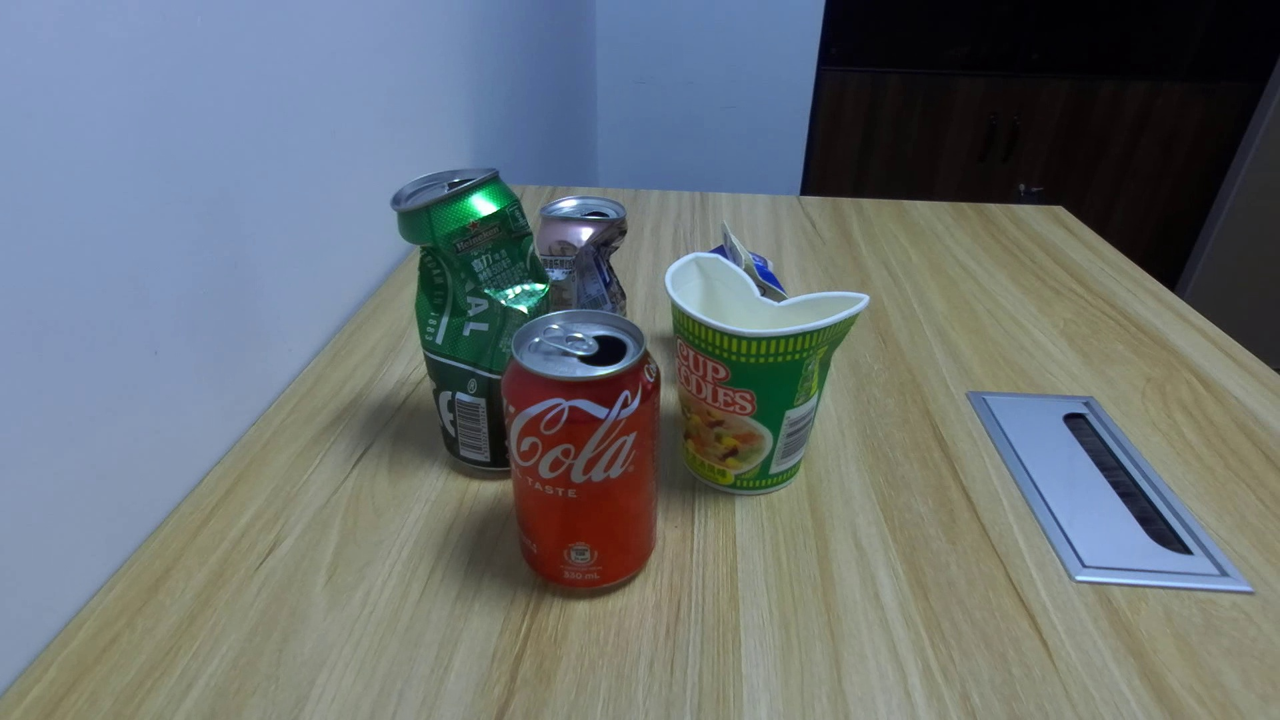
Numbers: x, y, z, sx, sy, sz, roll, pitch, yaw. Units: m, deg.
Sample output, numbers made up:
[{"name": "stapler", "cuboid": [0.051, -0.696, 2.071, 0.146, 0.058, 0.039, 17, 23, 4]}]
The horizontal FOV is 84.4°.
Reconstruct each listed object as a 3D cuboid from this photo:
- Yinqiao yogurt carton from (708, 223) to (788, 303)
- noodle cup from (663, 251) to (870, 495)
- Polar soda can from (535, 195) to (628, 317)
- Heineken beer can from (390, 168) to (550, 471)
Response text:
[{"name": "Yinqiao yogurt carton", "cuboid": [0.065, -0.043, 0.498, 0.071, 0.094, 0.077, -7, 34, -4]}, {"name": "noodle cup", "cuboid": [0.054, 0.009, 0.374, 0.087, 0.109, 0.093, -21, 38, -30]}, {"name": "Polar soda can", "cuboid": [-0.039, -0.051, 0.474, 0.070, 0.114, 0.074, -8, 35, -25]}, {"name": "Heineken beer can", "cuboid": [-0.082, -0.020, 0.382, 0.079, 0.159, 0.067, -3, 30, 5]}]
